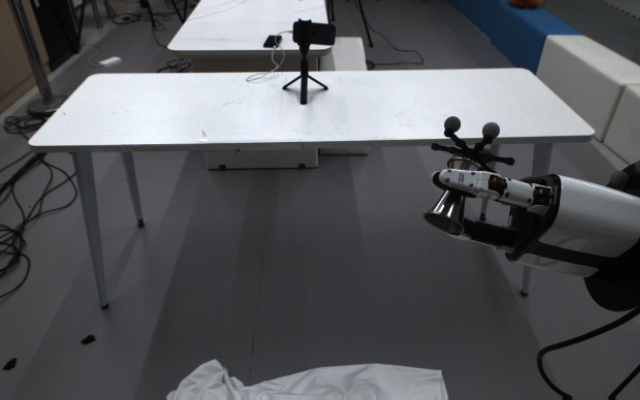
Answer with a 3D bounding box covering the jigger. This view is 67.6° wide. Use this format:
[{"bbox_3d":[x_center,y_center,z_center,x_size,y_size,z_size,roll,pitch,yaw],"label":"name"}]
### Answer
[{"bbox_3d":[0.140,-0.008,0.502,0.043,0.043,0.071,19,72,23],"label":"jigger"}]
